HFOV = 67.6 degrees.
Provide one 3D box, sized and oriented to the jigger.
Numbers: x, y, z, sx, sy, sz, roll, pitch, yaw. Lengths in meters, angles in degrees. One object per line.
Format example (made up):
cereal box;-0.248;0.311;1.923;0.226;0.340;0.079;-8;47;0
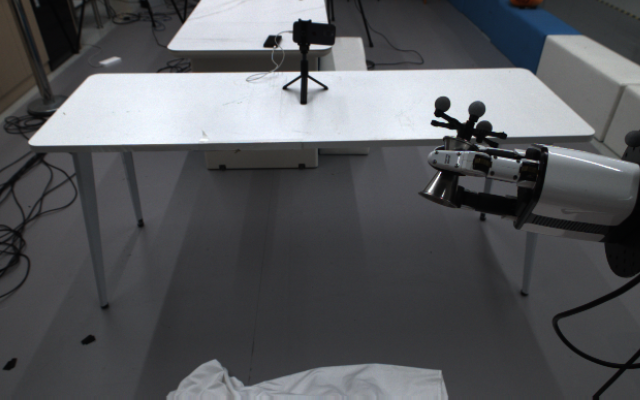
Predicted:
jigger;0.137;-0.033;0.526;0.043;0.071;0.043;25;-3;1
